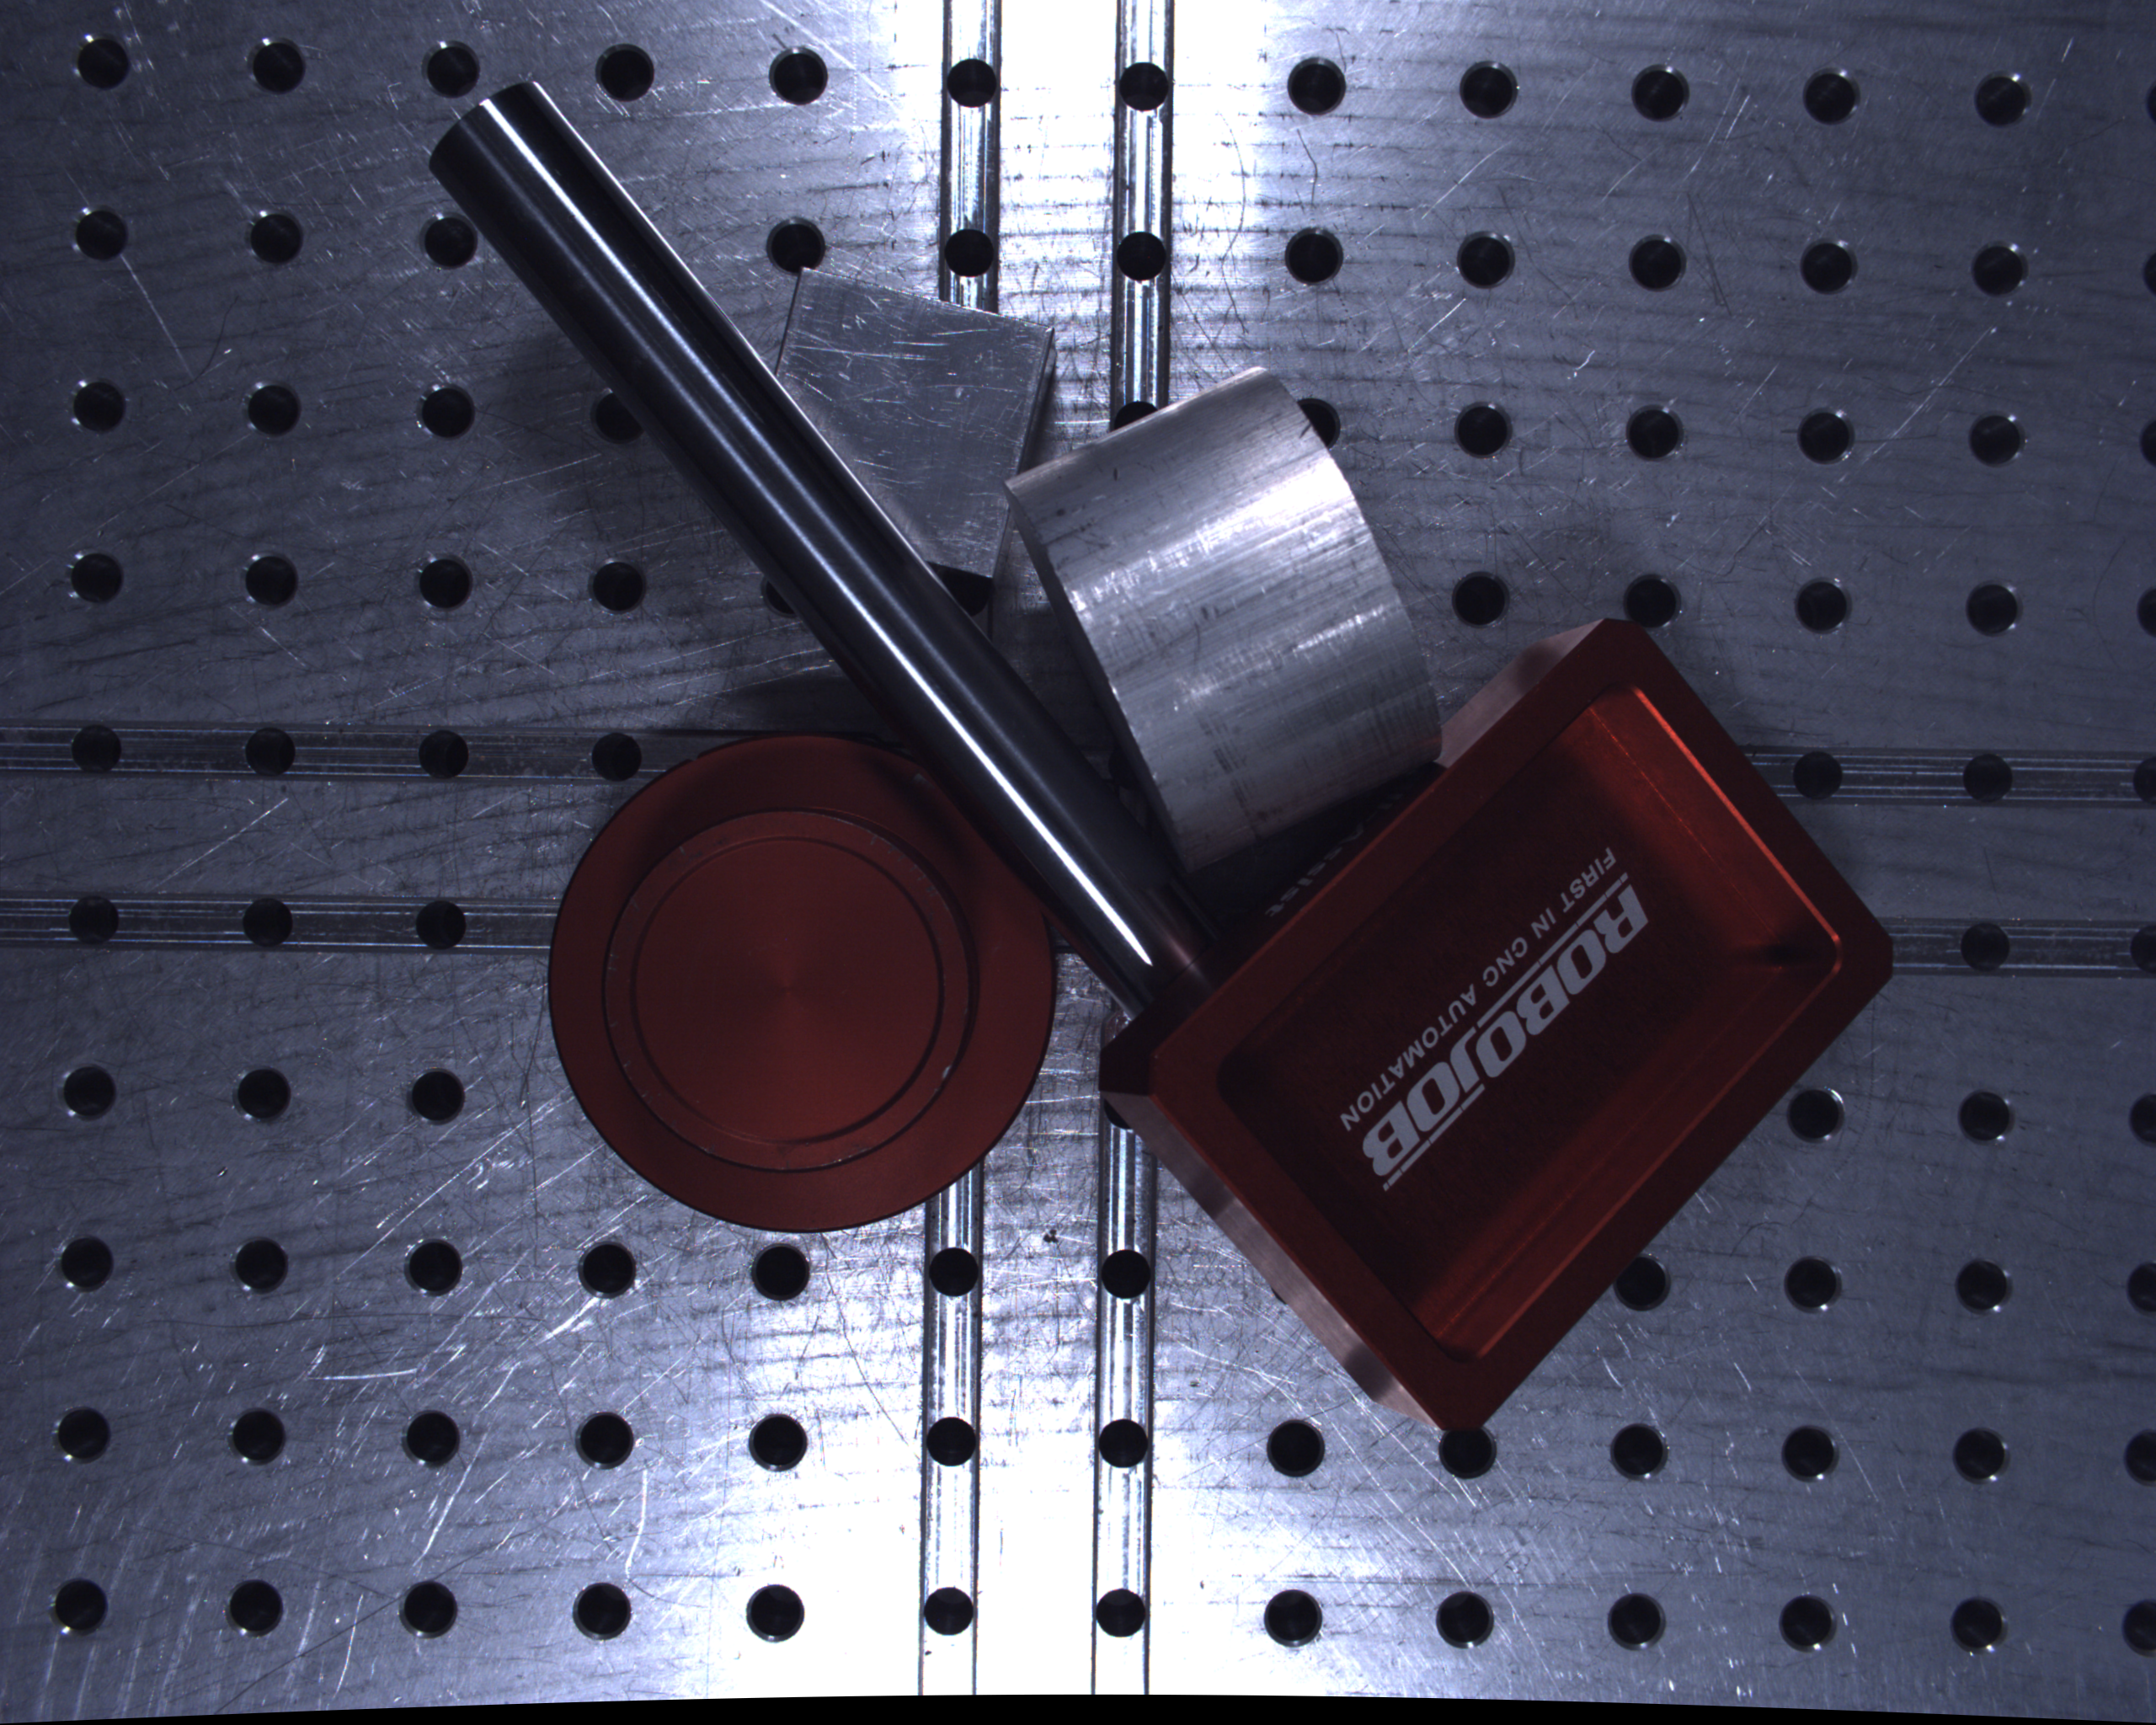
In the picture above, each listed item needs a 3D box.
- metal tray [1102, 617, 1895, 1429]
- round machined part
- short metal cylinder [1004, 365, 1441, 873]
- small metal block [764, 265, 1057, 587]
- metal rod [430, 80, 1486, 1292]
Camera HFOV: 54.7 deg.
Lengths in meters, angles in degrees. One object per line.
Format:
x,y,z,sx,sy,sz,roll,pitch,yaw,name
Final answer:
0.081,0.028,0.391,0.130,0.030,0.090,-43,98,-16,metal tray
-0.054,0.024,0.403,0.099,0.042,0.097,0,90,-1,round machined part
0.026,-0.044,0.386,0.050,0.080,0.080,-25,90,0,short metal cylinder
-0.034,-0.085,0.413,0.050,0.025,0.050,13,90,-1,small metal block
-0.012,-0.018,0.396,0.025,0.025,0.300,-40,98,0,metal rod
